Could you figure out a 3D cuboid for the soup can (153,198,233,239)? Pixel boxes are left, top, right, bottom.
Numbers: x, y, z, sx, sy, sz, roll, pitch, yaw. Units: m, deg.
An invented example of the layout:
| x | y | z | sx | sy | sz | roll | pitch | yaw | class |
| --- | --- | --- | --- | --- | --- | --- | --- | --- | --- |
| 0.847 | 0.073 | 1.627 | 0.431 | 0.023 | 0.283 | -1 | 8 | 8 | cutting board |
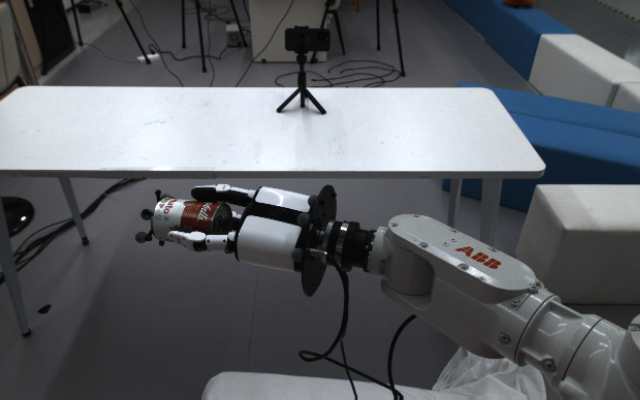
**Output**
| x | y | z | sx | sy | sz | roll | pitch | yaw | class |
| --- | --- | --- | --- | --- | --- | --- | --- | --- | --- |
| -0.190 | 0.035 | 0.726 | 0.101 | 0.067 | 0.067 | 5 | 34 | 14 | soup can |
